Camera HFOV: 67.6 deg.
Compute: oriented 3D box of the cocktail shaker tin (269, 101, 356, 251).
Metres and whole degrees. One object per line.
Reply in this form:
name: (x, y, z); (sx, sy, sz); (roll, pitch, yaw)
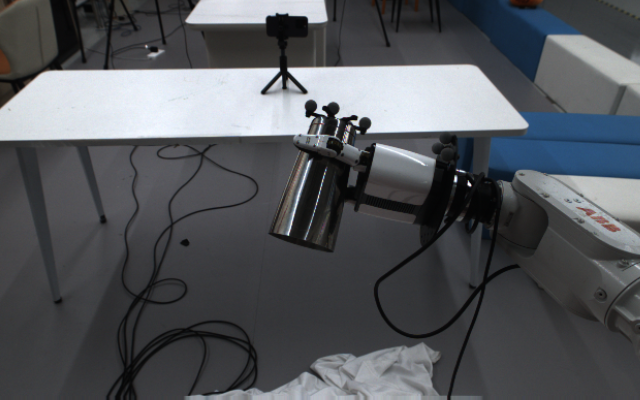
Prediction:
cocktail shaker tin: (0.000, -0.026, 0.663); (0.093, 0.093, 0.170); (13, 79, 15)
